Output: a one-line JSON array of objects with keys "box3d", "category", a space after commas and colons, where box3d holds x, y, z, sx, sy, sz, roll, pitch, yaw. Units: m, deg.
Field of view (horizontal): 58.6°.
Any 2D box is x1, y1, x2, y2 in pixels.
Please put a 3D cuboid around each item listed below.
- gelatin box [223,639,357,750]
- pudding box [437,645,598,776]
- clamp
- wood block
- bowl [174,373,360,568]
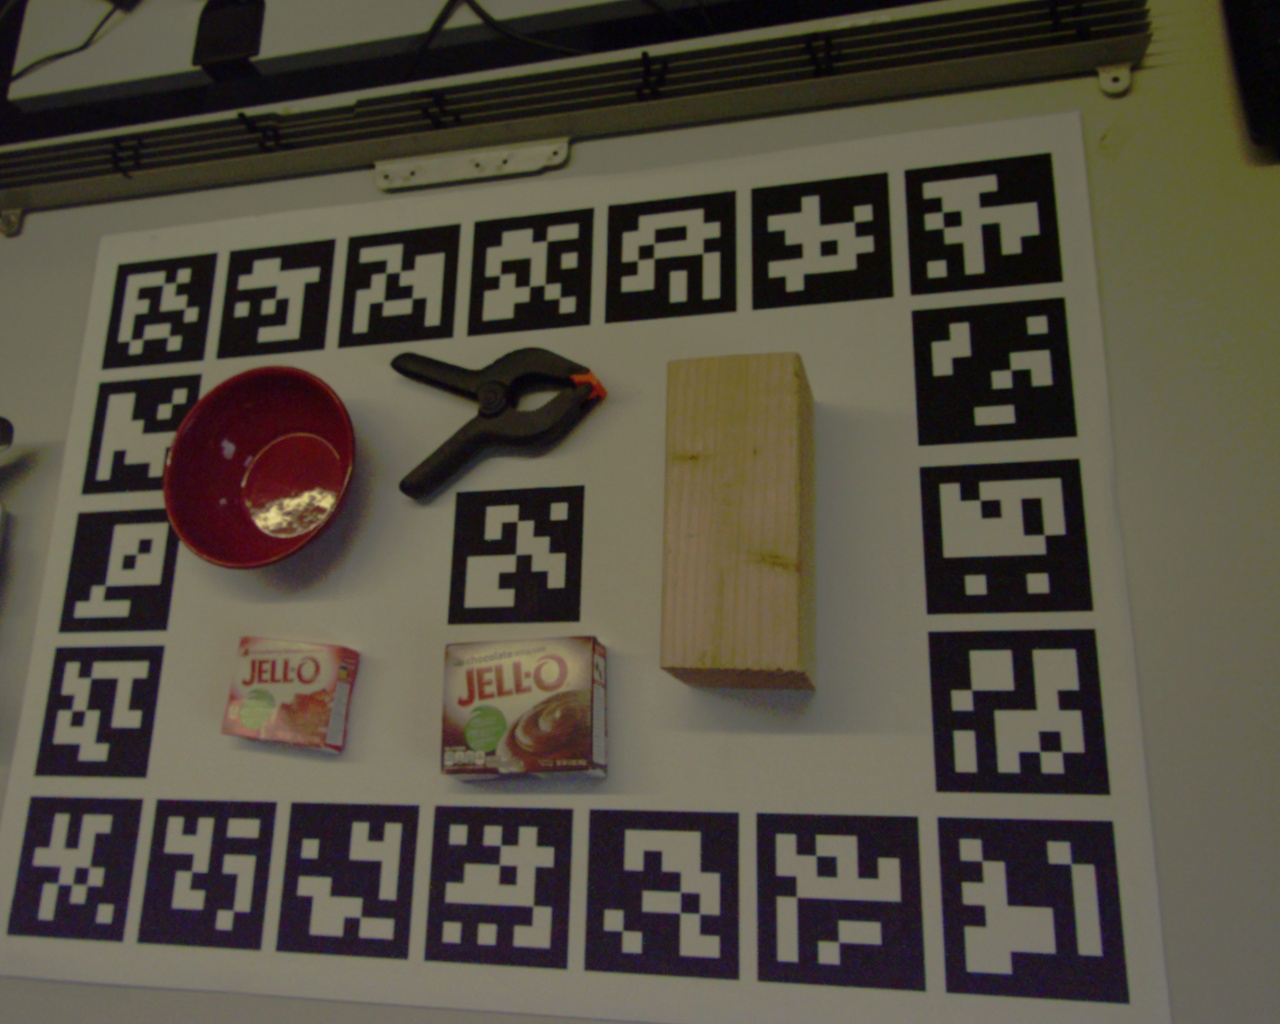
[{"box3d": [-0.268, 0.139, 0.870, 0.090, 0.030, 0.073, 6, 78, 17], "category": "gelatin box"}, {"box3d": [-0.087, 0.142, 0.816, 0.115, 0.038, 0.090, -4, 78, 17], "category": "pudding box"}, {"box3d": [-0.128, -0.071, 0.896, 0.166, 0.036, 0.122, -13, 72, 10], "category": "clamp"}, {"box3d": [0.064, 0.017, 0.781, 0.090, 0.090, 0.206, 0, 75, 14], "category": "wood block"}, {"box3d": [-0.289, -0.027, 0.917, 0.163, 0.055, 0.162, -3, 77, 13], "category": "bowl"}]
